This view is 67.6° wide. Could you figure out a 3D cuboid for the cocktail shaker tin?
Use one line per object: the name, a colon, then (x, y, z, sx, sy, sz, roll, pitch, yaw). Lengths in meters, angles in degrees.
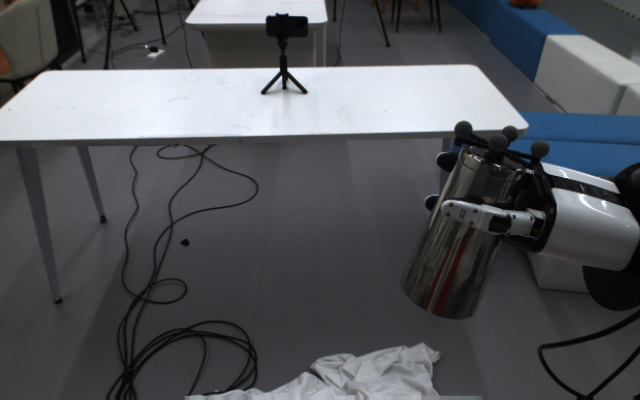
cocktail shaker tin: (0.160, 0.029, 0.524, 0.093, 0.170, 0.093, 12, 25, -6)
